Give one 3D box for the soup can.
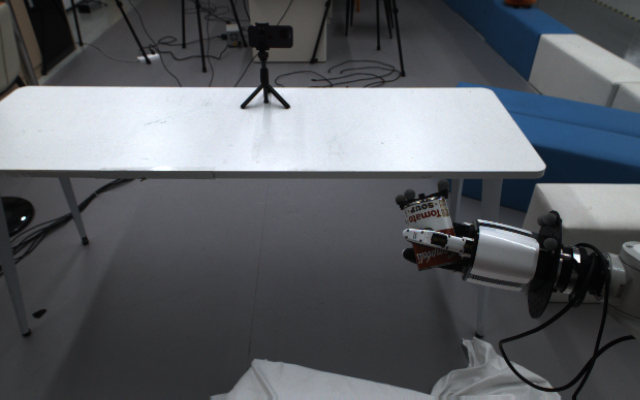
[{"bbox_3d":[0.172,0.051,0.739,0.067,0.067,0.101,-10,80,-16],"label":"soup can"}]
